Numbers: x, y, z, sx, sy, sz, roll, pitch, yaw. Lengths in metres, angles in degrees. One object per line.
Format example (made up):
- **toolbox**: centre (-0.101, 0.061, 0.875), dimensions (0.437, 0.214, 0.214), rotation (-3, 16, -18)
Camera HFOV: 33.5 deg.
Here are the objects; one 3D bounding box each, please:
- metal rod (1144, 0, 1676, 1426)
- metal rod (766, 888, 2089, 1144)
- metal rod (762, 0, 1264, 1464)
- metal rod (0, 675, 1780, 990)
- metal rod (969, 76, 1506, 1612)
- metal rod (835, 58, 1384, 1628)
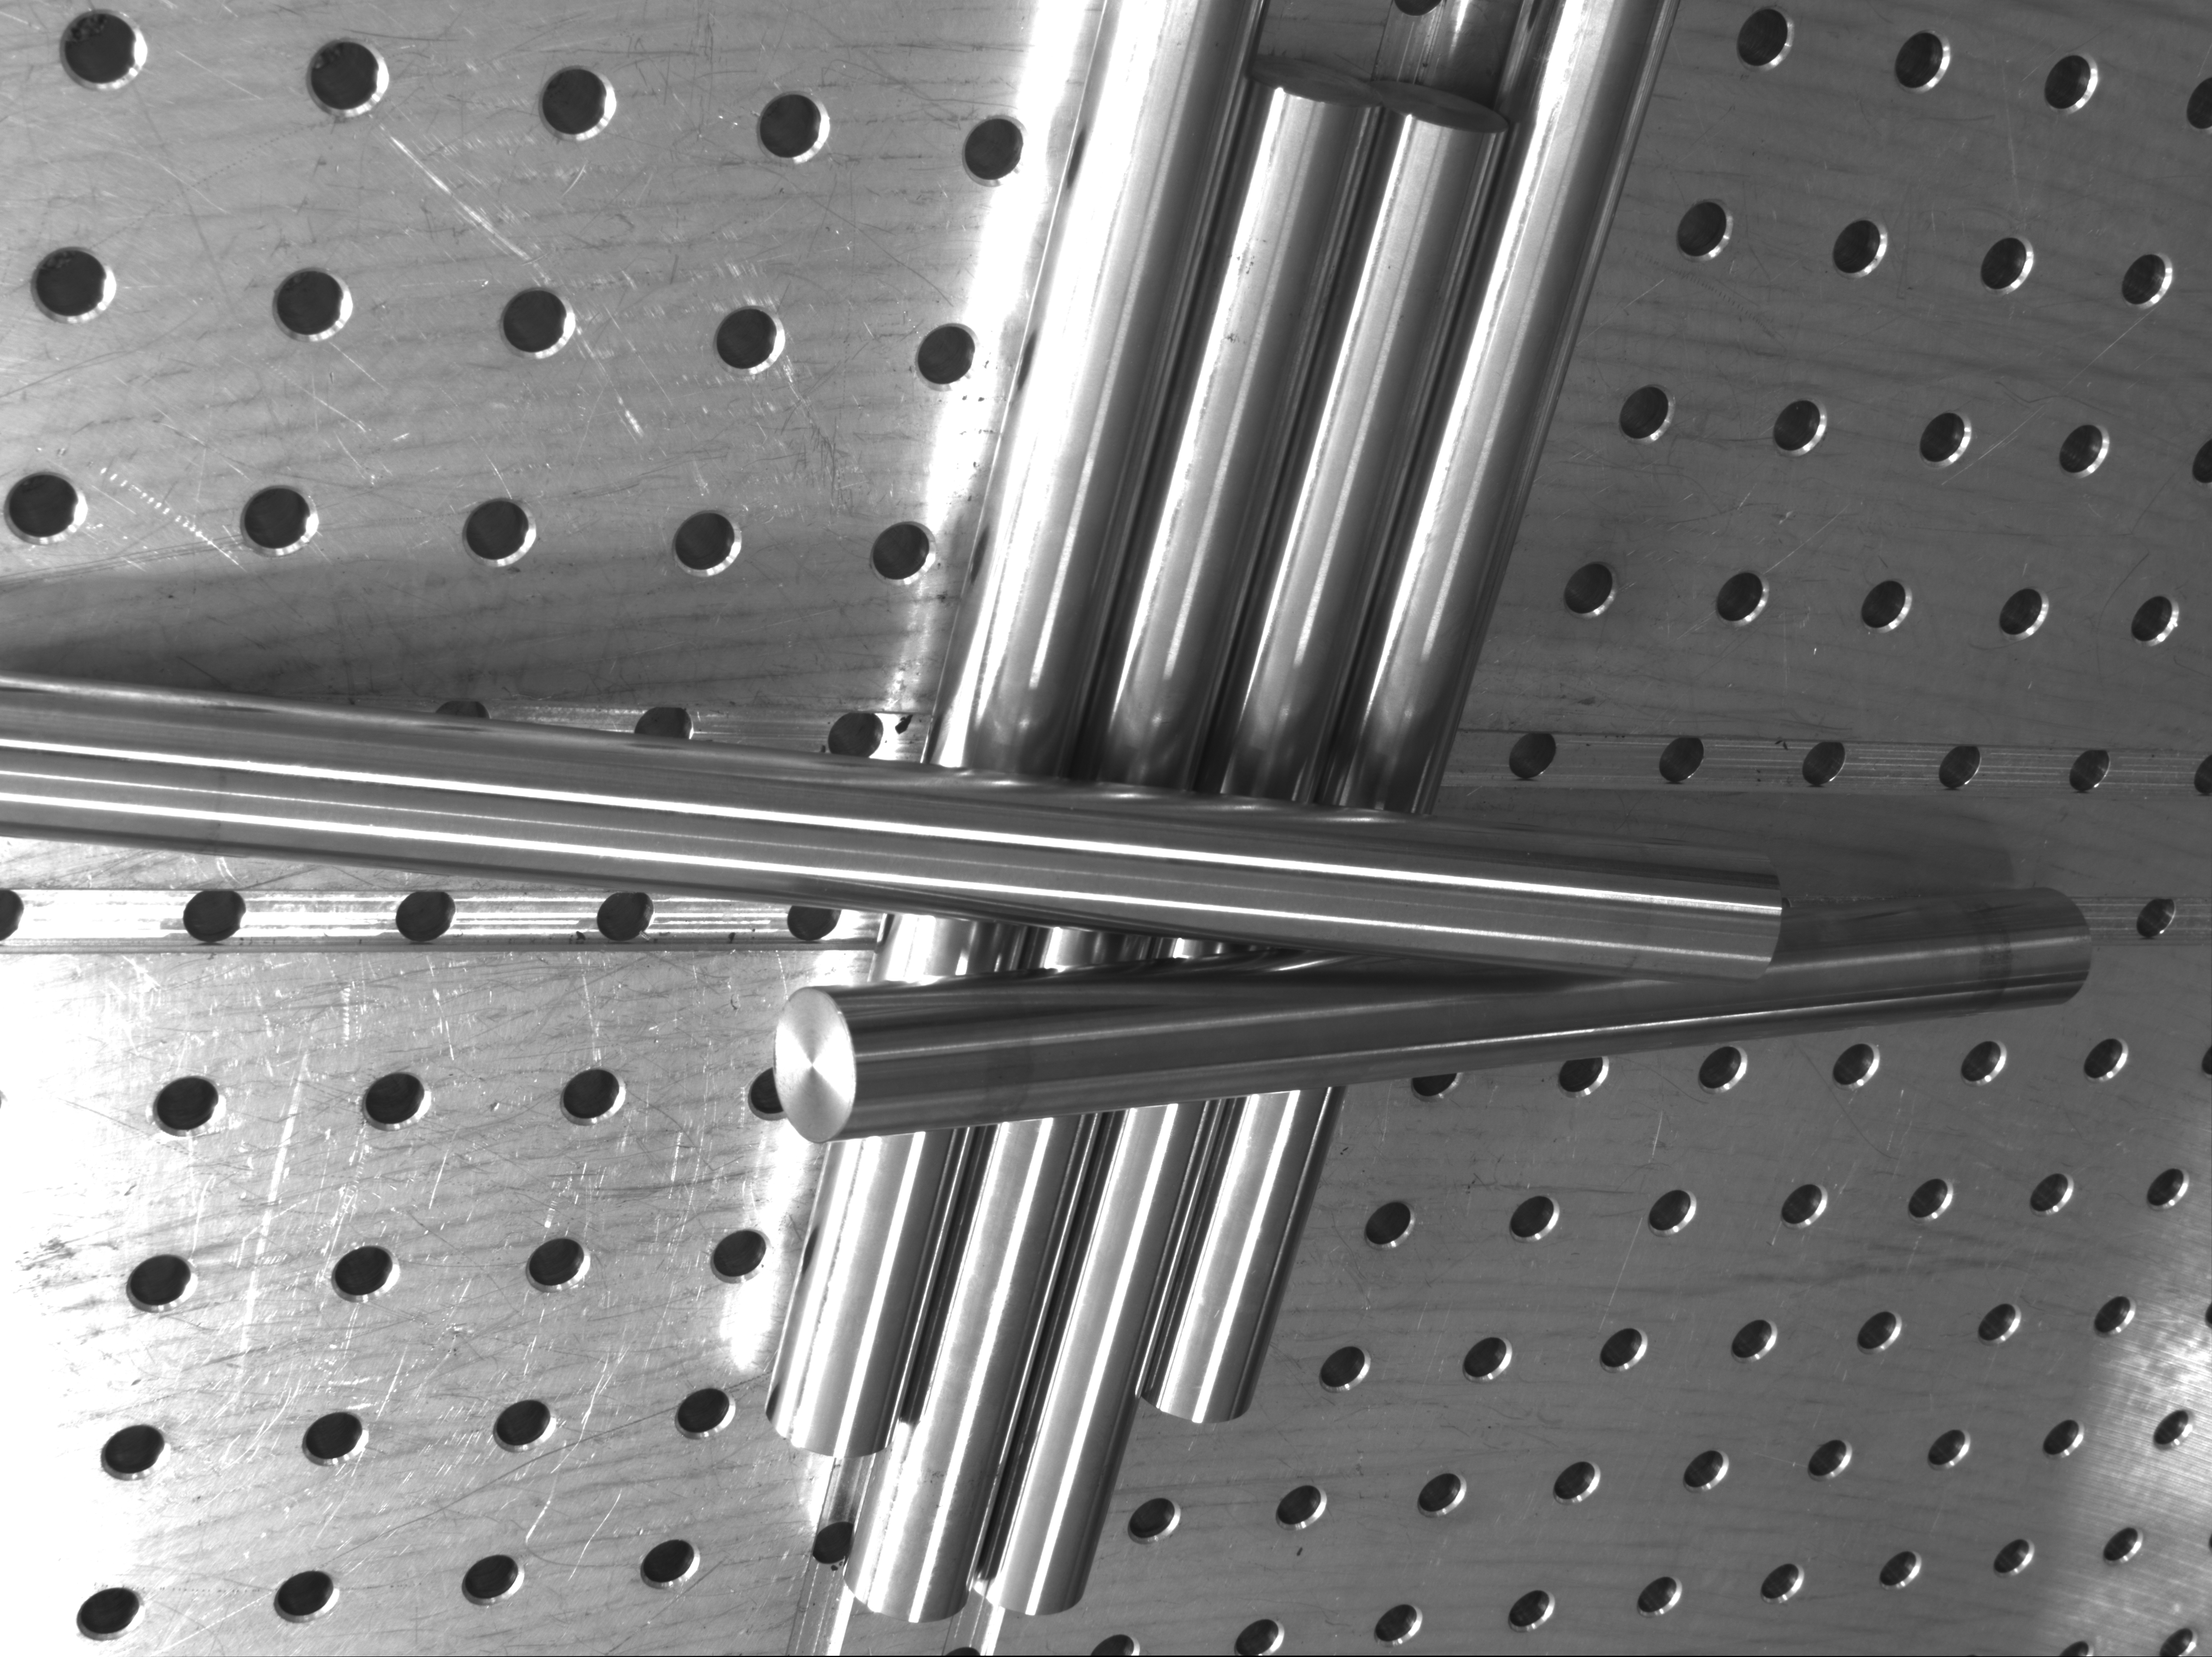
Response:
- **metal rod**: centre (0.051, -0.024, 0.653), dimensions (0.025, 0.025, 0.300), rotation (1, 118, -28)
- **metal rod**: centre (0.073, 0.031, 0.672), dimensions (0.301, 0.025, 0.025), rotation (-3, 120, -37)
- **metal rod**: centre (-0.016, -0.023, 0.617), dimensions (0.025, 0.025, 0.300), rotation (1, 118, -28)
- **metal rod**: centre (-0.027, 0.003, 0.598), dimensions (0.301, 0.025, 0.025), rotation (5, 116, -21)
- **metal rod**: centre (0.018, 0.014, 0.660), dimensions (0.025, 0.025, 0.300), rotation (1, 118, -28)
- **metal rod**: centre (-0.004, 0.013, 0.645), dimensions (0.025, 0.025, 0.300), rotation (1, 118, -29)
